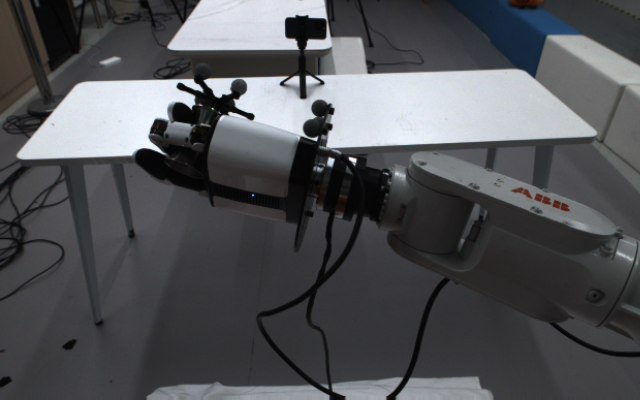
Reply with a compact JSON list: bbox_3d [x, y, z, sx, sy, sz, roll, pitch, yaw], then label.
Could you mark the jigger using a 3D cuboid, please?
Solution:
[{"bbox_3d":[-0.129,-0.064,0.513,0.043,0.043,0.071,15,70,18],"label":"jigger"}]
